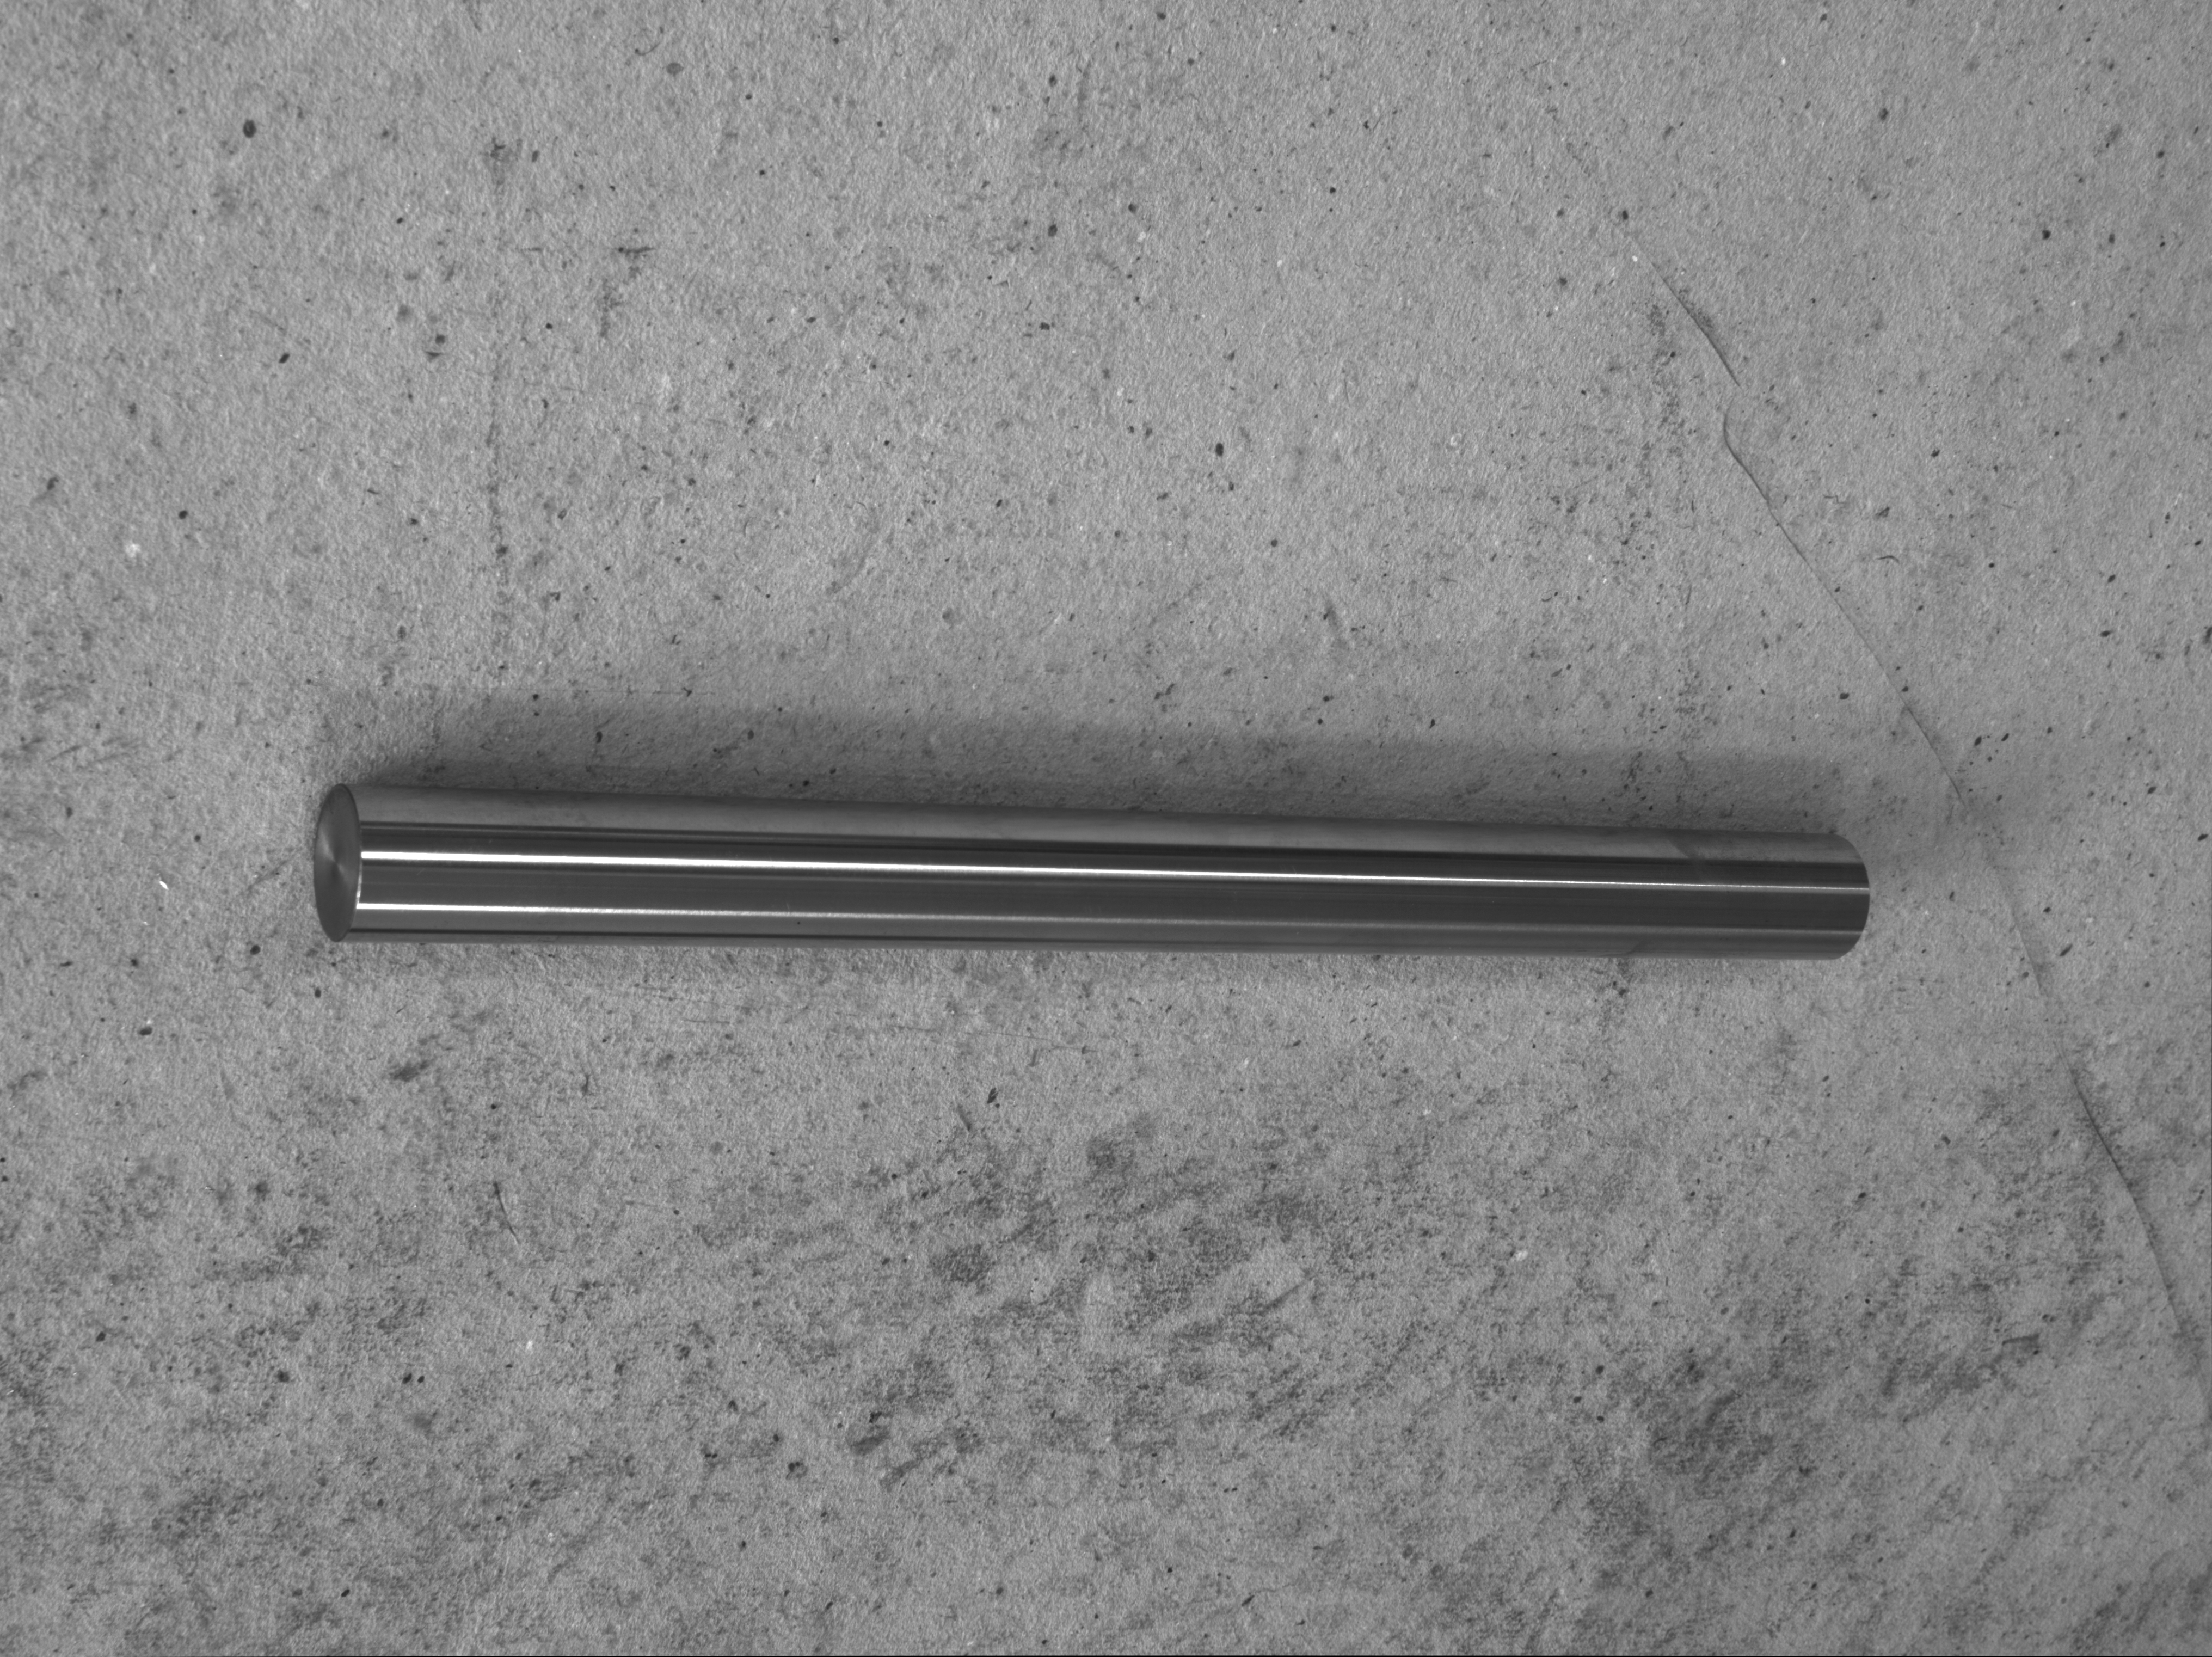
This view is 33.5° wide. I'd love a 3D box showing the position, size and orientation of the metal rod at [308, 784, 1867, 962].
[{"bbox_3d":[0.010,0.010,0.649,0.301,0.025,0.025,2,117,-29],"label":"metal rod"}]
